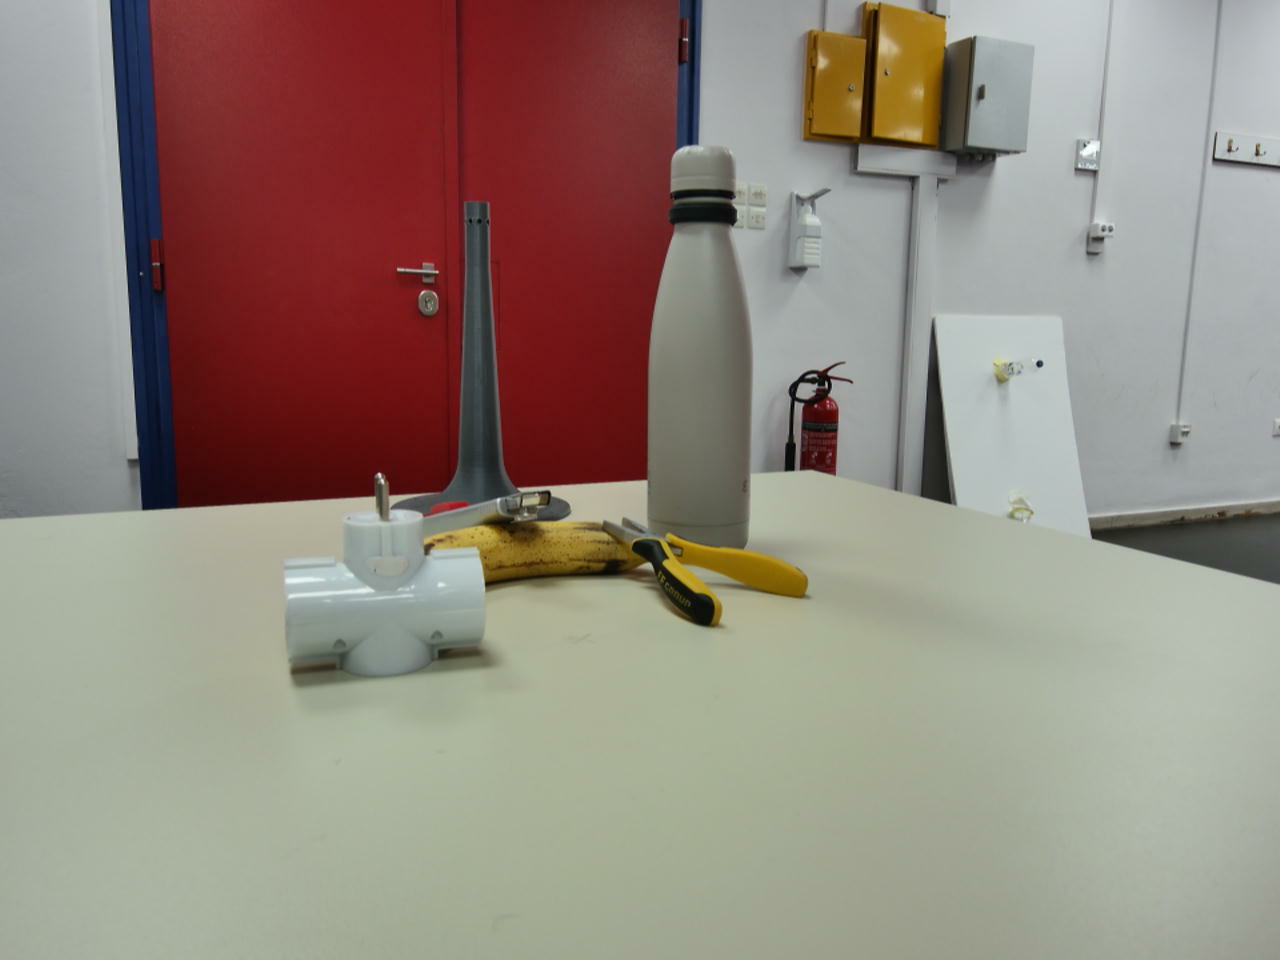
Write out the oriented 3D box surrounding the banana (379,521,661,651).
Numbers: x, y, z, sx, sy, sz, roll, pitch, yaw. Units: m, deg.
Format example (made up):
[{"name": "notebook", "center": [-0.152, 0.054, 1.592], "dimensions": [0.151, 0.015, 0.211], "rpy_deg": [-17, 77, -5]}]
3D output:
[{"name": "banana", "center": [-0.079, 0.050, 0.592], "dimensions": [0.097, 0.038, 0.186], "rpy_deg": [6, 10, 37]}]
